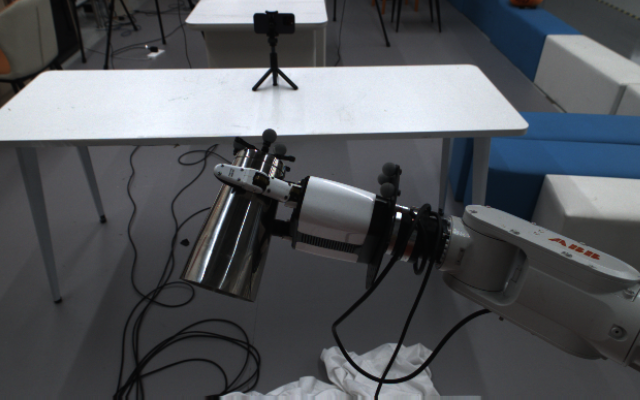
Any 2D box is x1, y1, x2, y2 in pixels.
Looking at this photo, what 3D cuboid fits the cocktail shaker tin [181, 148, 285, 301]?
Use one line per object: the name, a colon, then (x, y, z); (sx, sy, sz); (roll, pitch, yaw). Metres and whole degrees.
cocktail shaker tin: (-0.096, 0.027, 0.590); (0.093, 0.093, 0.170); (12, 72, 14)
